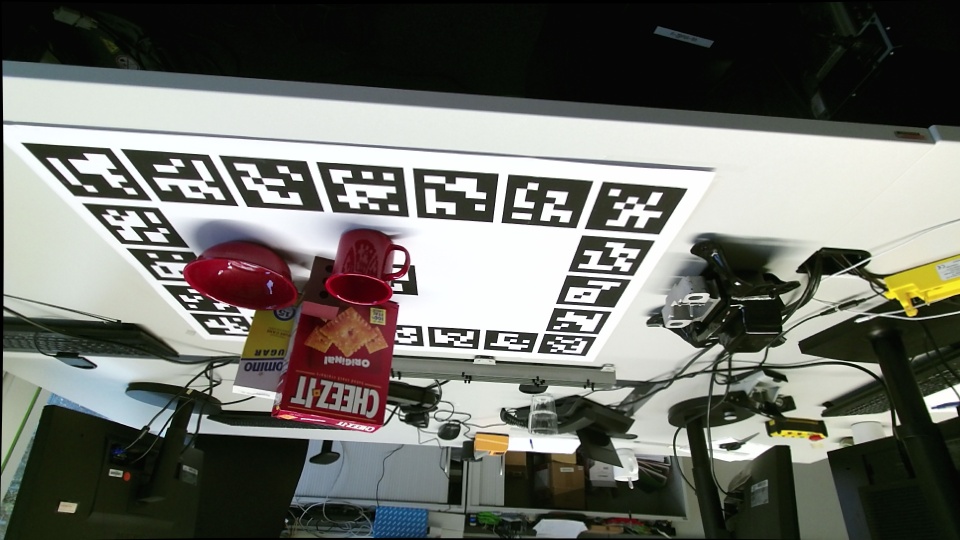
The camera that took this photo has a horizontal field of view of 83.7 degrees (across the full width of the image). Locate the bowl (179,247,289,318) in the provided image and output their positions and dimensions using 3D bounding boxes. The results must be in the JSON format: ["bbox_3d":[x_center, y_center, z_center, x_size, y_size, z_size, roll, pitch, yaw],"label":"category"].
[{"bbox_3d":[-0.362,0.013,0.801,0.162,0.055,0.162,2,148,1],"label":"bowl"}]

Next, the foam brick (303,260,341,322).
[{"bbox_3d":[-0.240,0.033,0.832,0.053,0.077,0.051,11,148,-15],"label":"foam brick"}]

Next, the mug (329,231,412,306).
[{"bbox_3d":[-0.154,-0.003,0.750,0.117,0.081,0.093,-3,156,5],"label":"mug"}]

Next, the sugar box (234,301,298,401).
[{"bbox_3d":[-0.343,0.133,0.899,0.093,0.175,0.045,15,146,-20],"label":"sugar box"}]

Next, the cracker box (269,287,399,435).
[{"bbox_3d":[-0.232,0.147,0.882,0.165,0.212,0.072,21,146,-26],"label":"cracker box"}]
